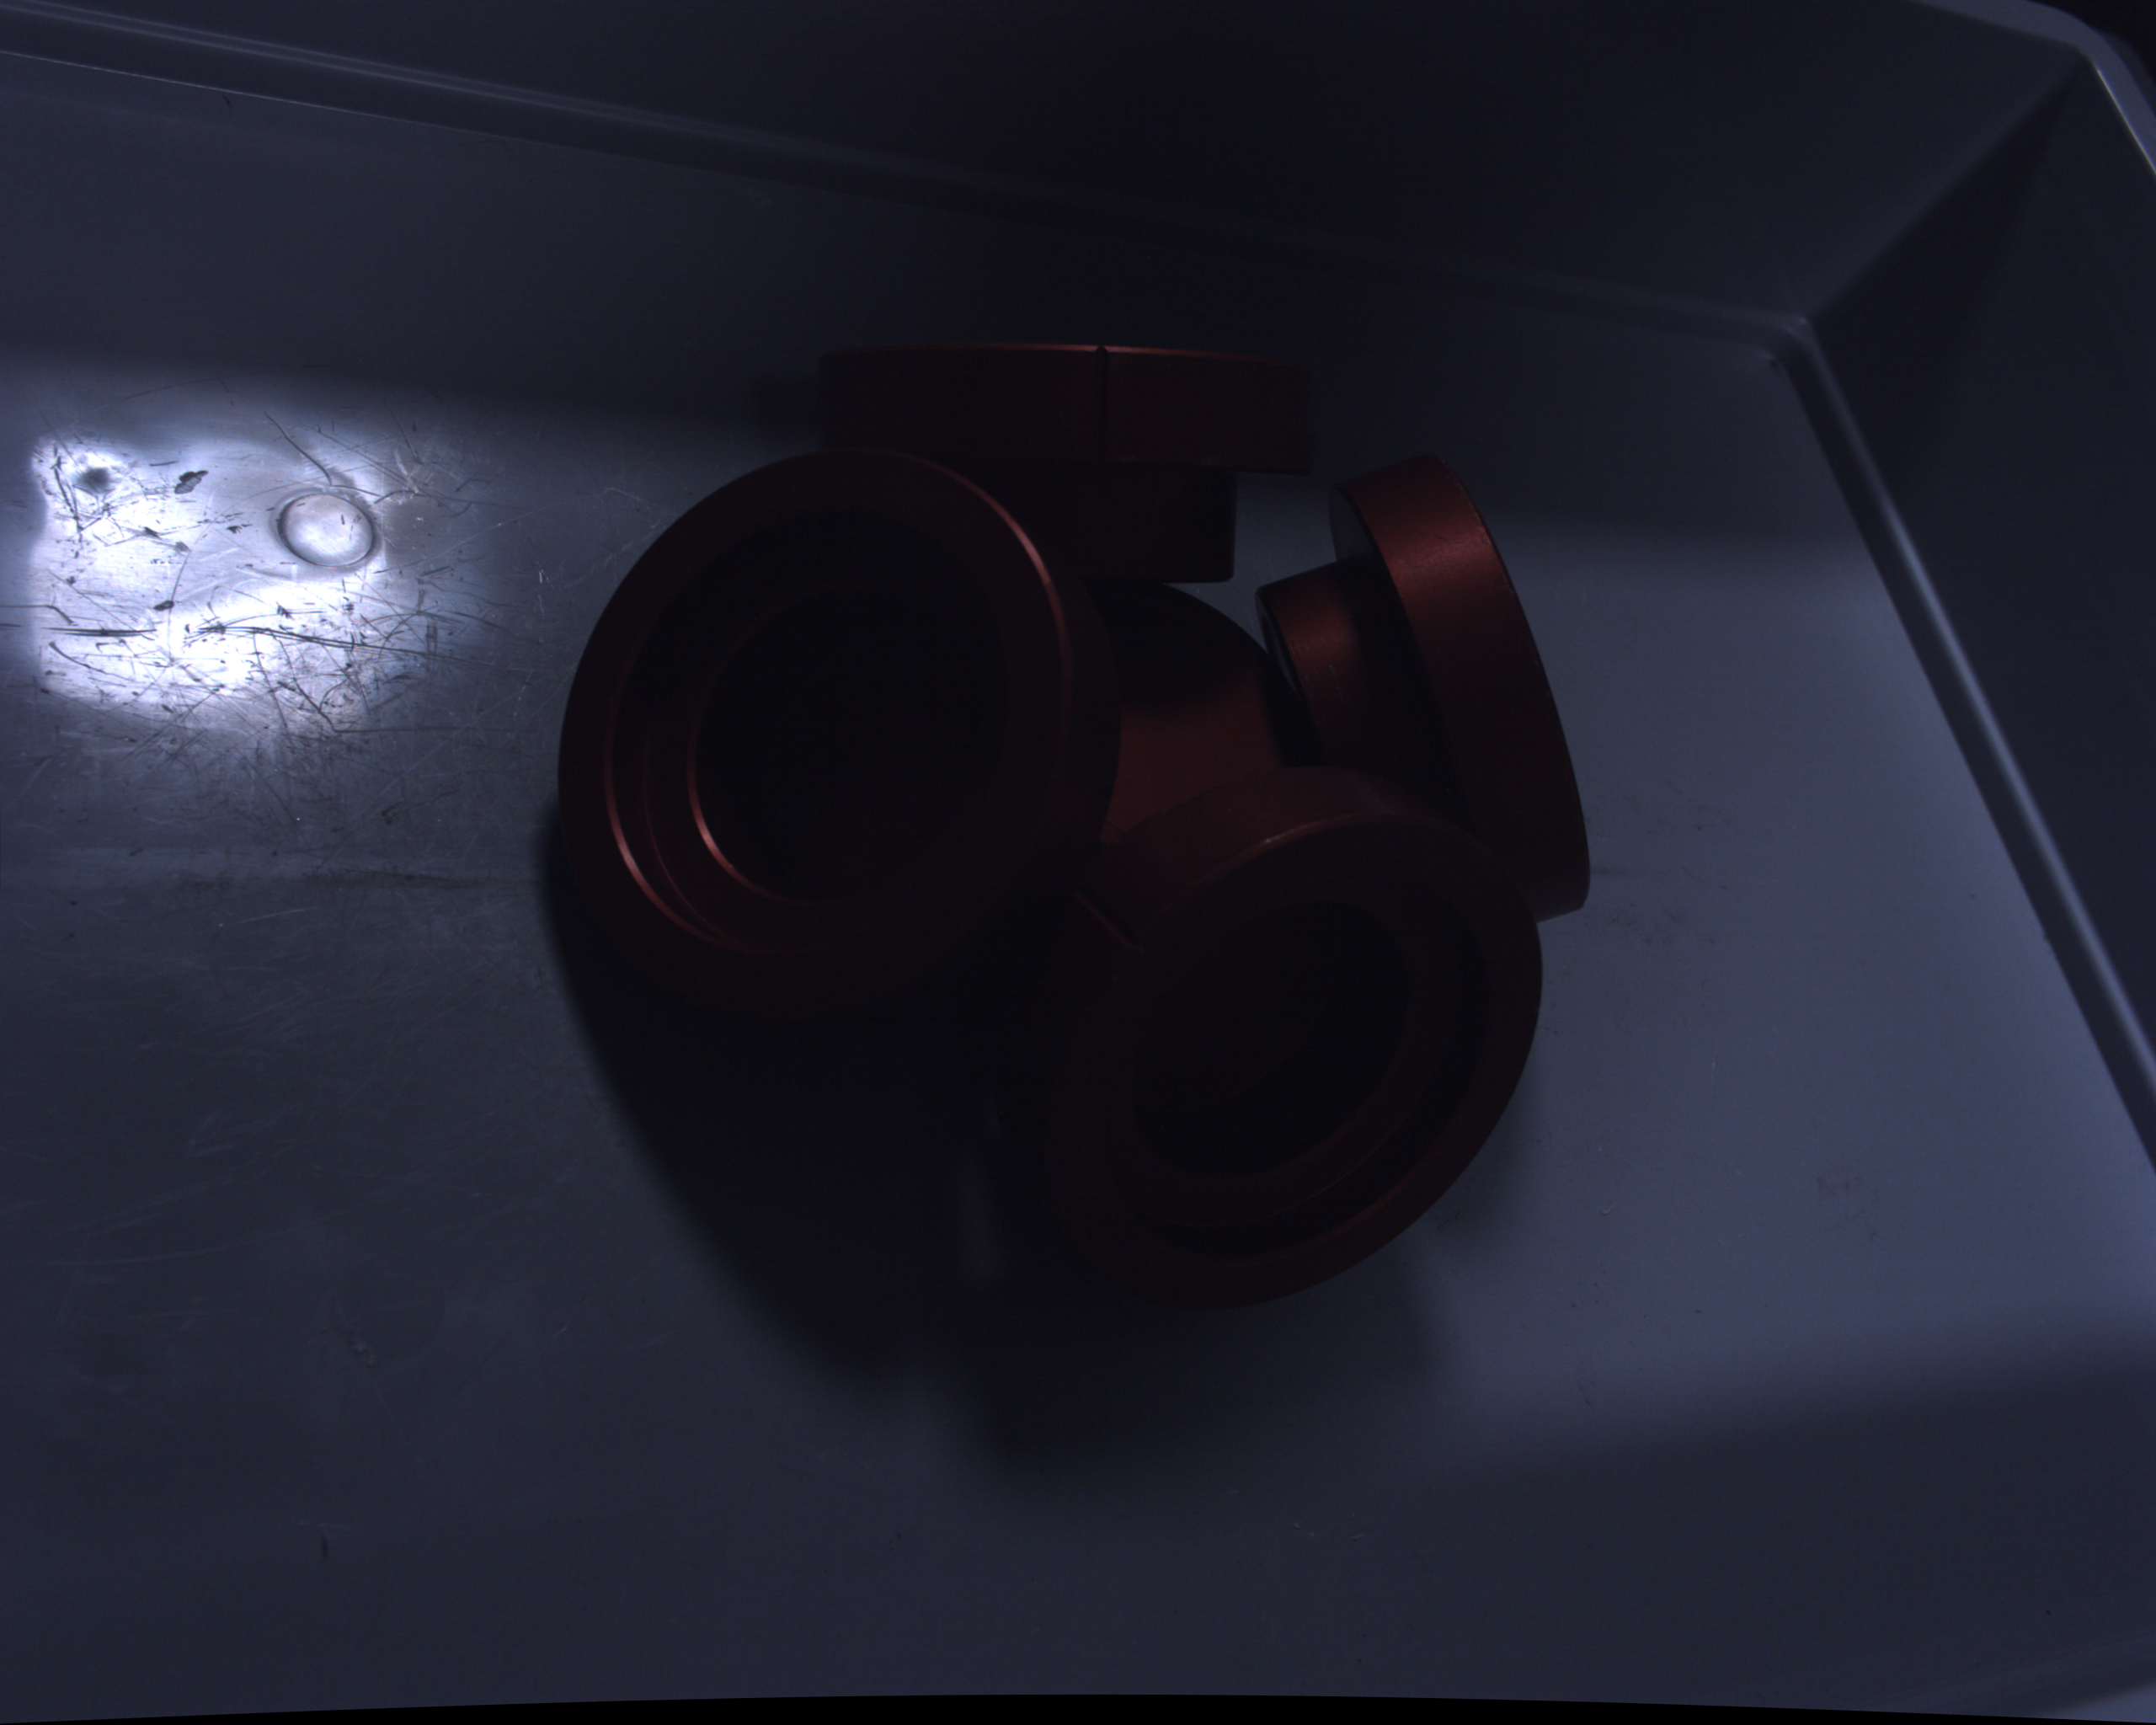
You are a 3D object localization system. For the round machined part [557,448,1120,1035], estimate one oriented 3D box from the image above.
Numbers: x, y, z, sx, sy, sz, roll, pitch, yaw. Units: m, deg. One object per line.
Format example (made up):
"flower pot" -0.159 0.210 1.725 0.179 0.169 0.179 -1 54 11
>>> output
"round machined part" -0.037 -0.018 0.361 0.042 0.098 0.098 27 40 -62

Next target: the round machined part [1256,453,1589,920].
"round machined part" 0.066 -0.030 0.426 0.042 0.098 0.098 -18 67 3

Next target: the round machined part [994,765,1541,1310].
"round machined part" 0.030 0.027 0.369 0.099 0.097 0.042 -1 26 -29

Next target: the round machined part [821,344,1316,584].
"round machined part" -0.002 -0.078 0.417 0.099 0.098 0.042 -4 102 -30

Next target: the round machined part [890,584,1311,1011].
"round machined part" 0.007 -0.017 0.408 0.099 0.042 0.098 14 56 -21
